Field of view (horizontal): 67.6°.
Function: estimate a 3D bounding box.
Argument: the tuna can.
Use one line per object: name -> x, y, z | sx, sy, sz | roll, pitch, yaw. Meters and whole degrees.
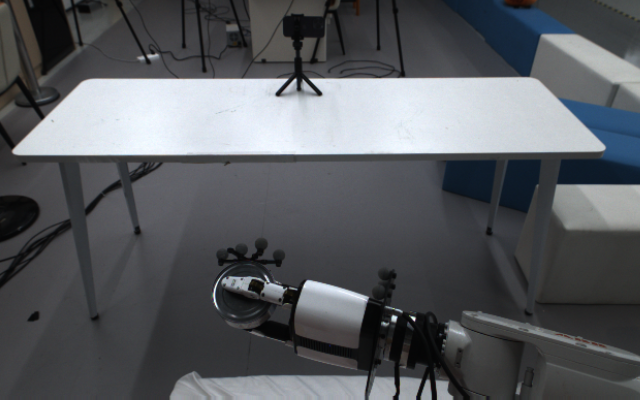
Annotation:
tuna can -> -0.097, 0.131, 0.641 | 0.085, 0.034, 0.085 | -1, 58, 2
